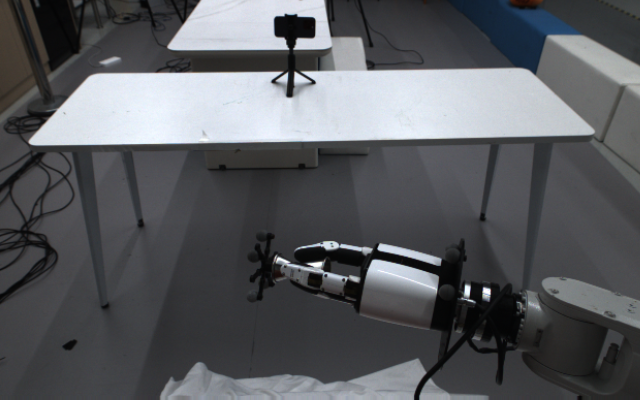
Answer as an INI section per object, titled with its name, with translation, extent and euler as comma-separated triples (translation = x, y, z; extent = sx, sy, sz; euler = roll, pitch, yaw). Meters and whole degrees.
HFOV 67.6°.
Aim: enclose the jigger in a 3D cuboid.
[jigger]
translation = -0.017, 0.088, 0.626
extent = 0.071, 0.043, 0.043
euler = 4, 34, 15
